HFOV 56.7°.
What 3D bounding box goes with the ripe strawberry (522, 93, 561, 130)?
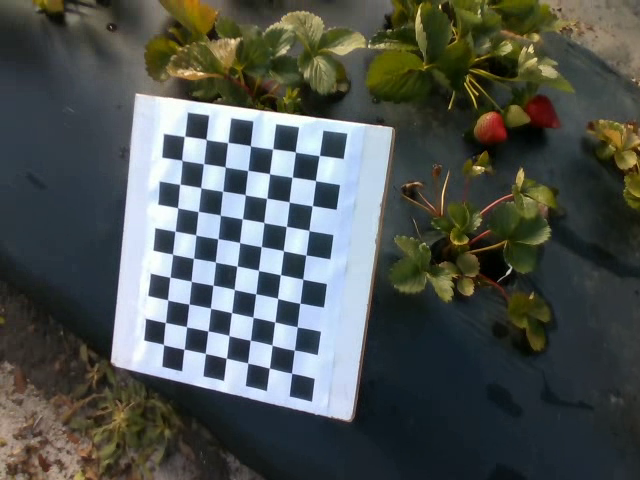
[{"bbox_3d":[0.319,-0.180,0.842,0.048,0.065,0.050,-41,-12,14],"label":"ripe strawberry"}]
